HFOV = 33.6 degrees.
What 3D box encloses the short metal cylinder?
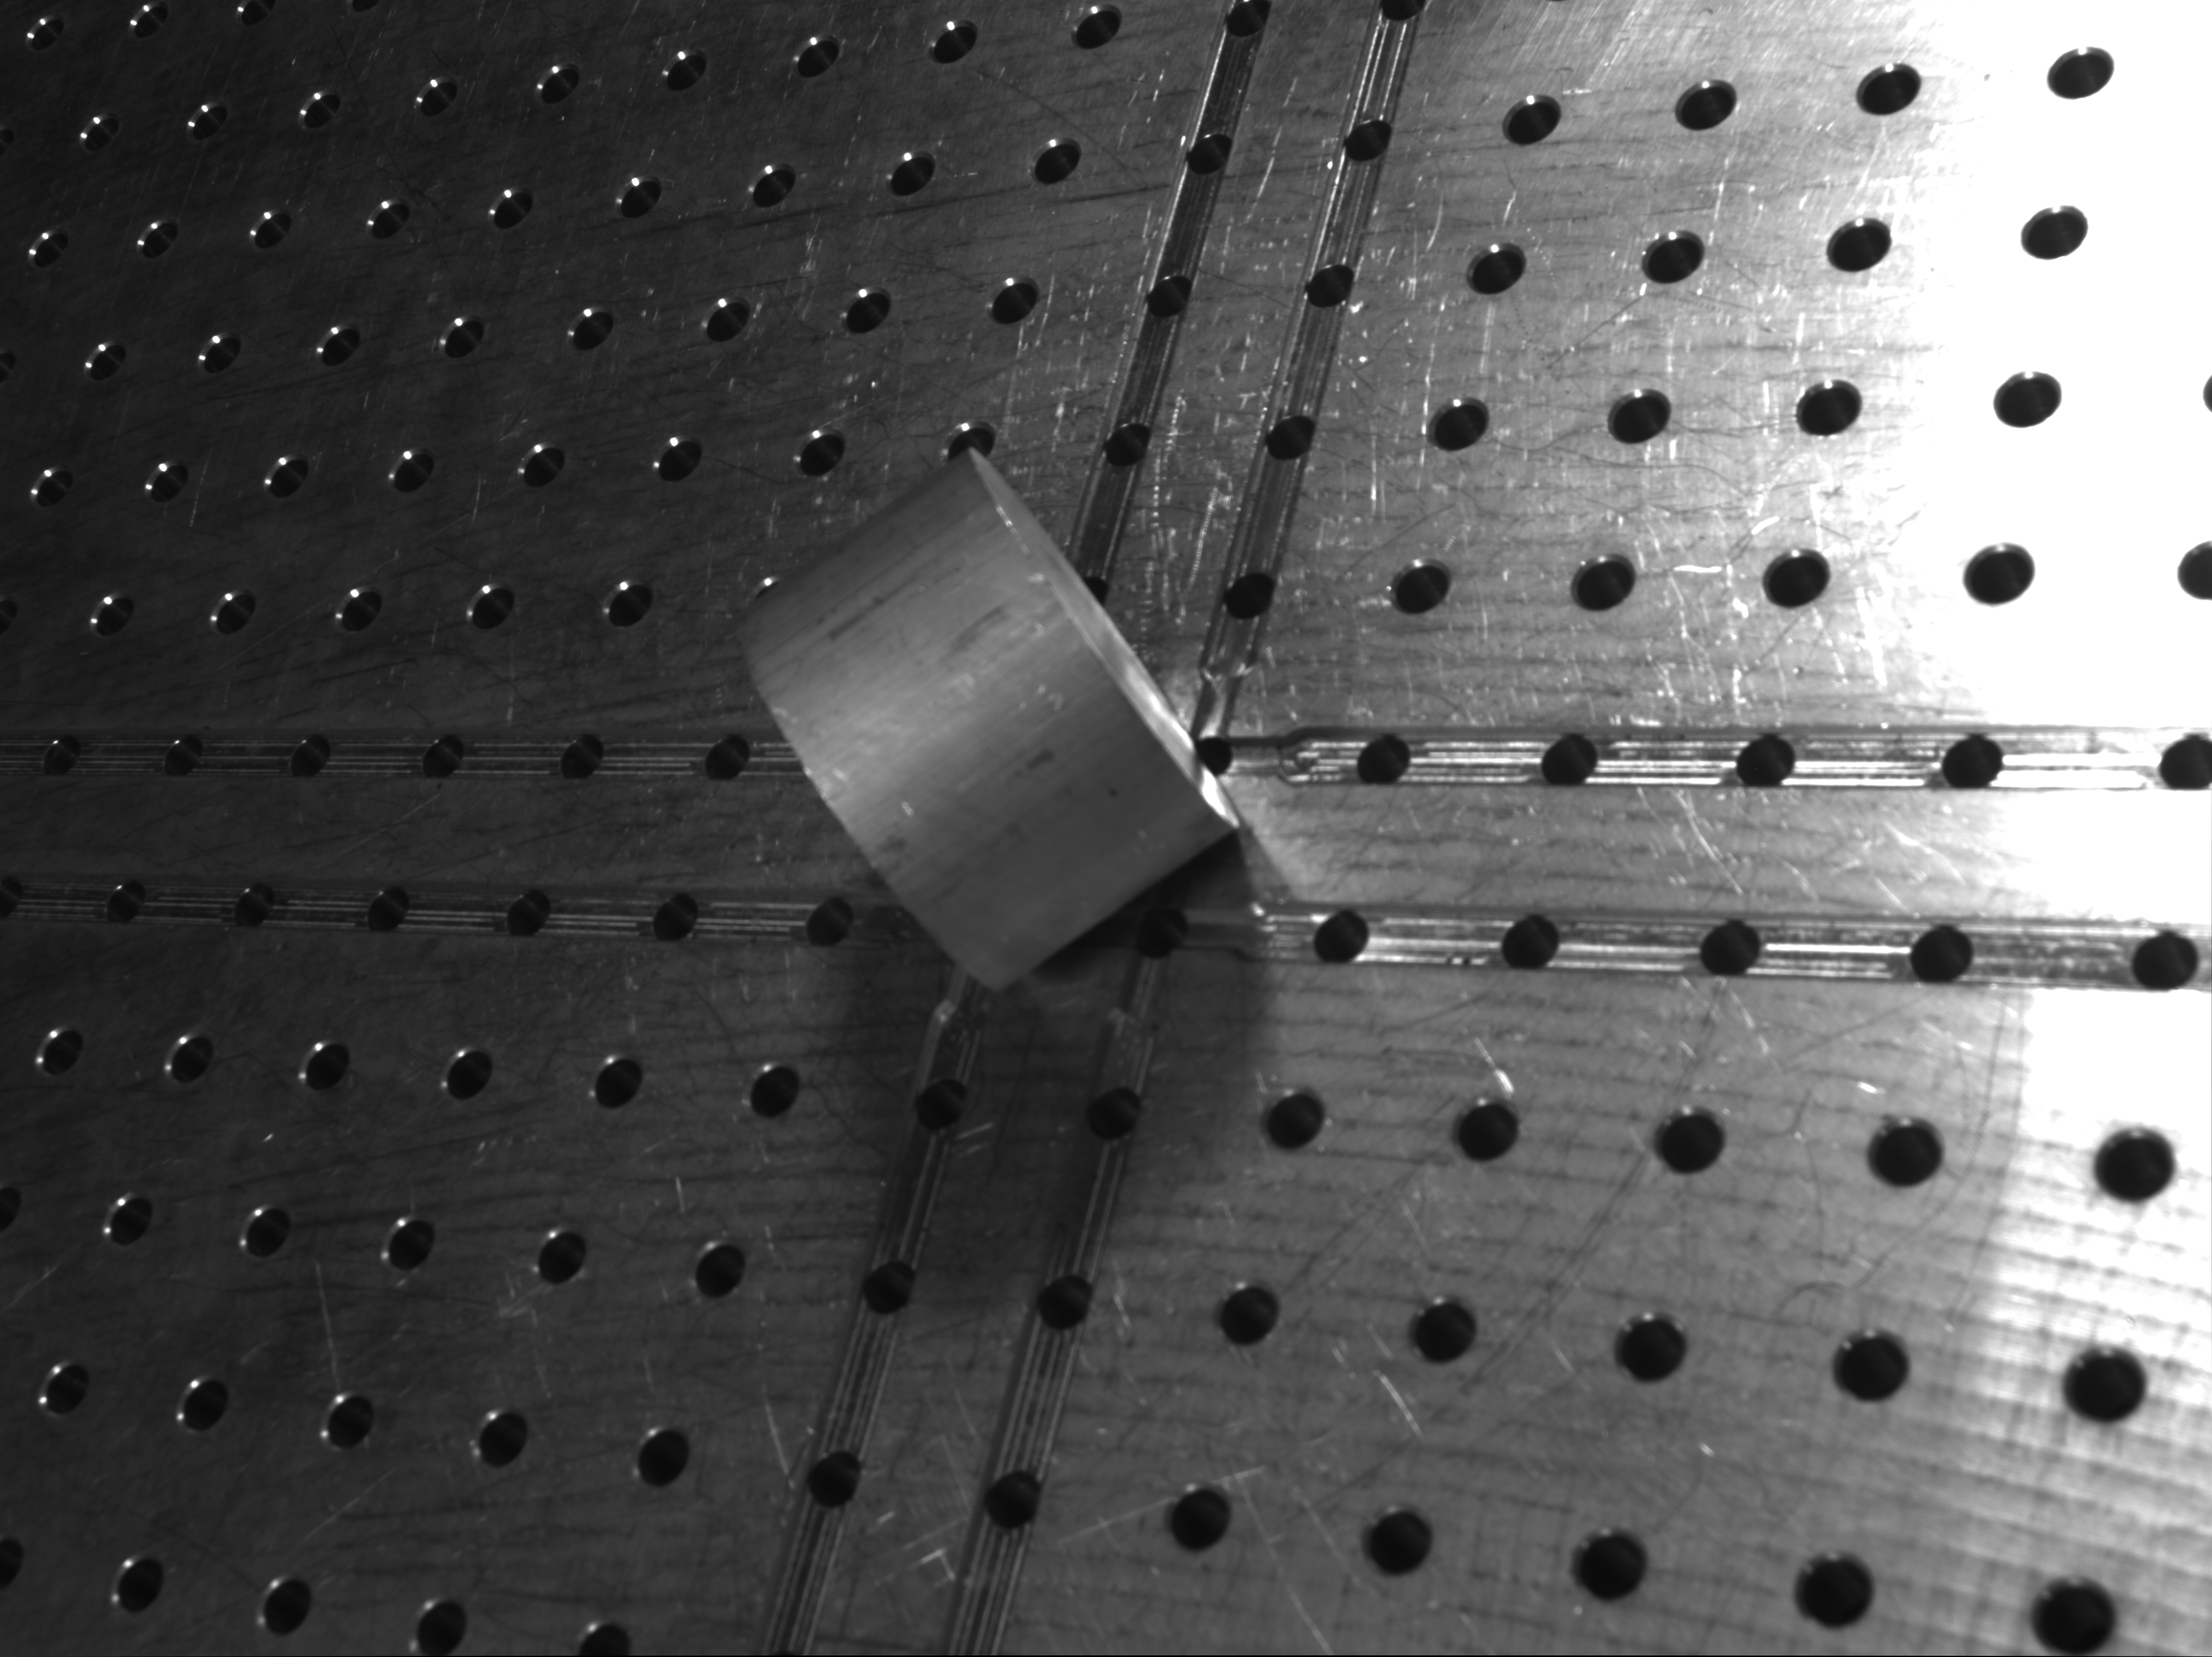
[{"bbox_3d":[-0.018,-0.019,0.632,0.050,0.080,0.080,-35,51,5],"label":"short metal cylinder"}]
